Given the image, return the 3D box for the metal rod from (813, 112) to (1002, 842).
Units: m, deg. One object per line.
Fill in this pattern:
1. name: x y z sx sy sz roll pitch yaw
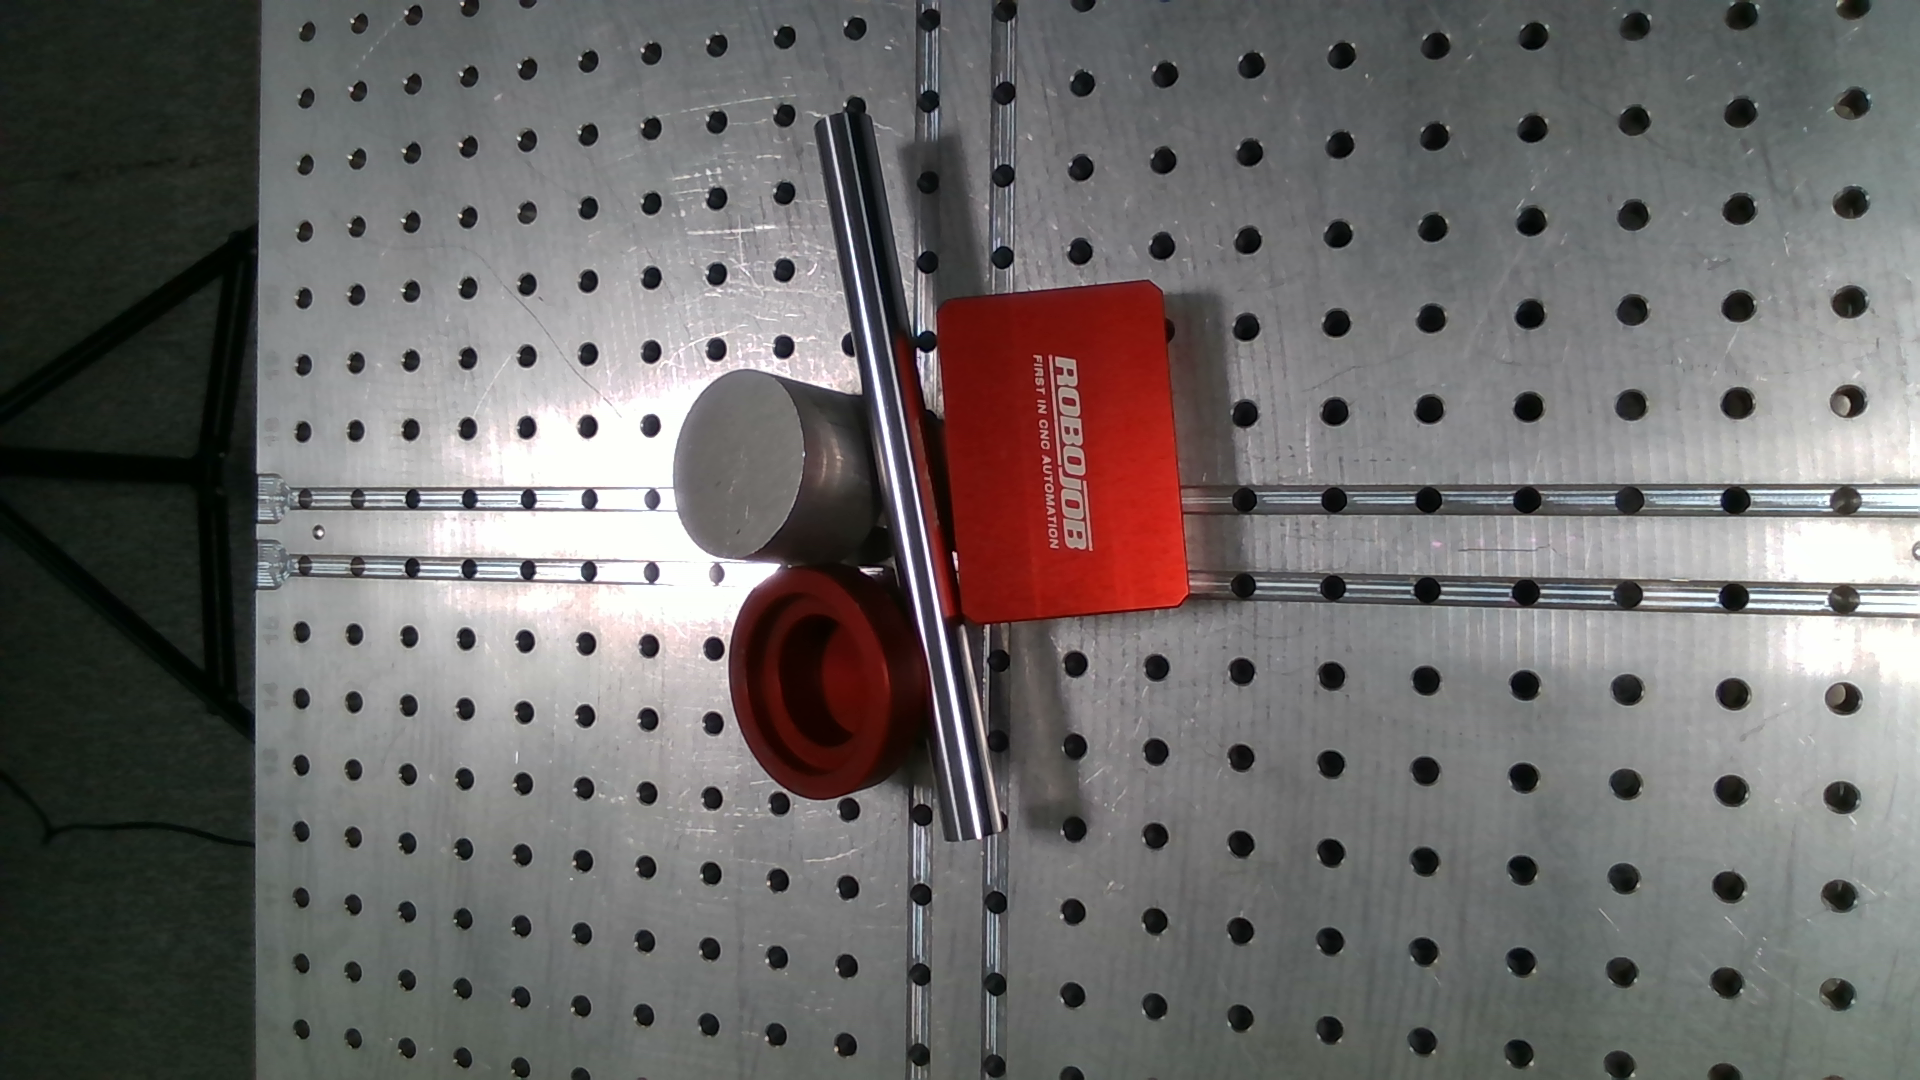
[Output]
1. metal rod: -0.022 -0.027 0.569 0.025 0.025 0.300 -12 87 20

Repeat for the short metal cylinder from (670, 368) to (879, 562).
1. short metal cylinder: -0.079 -0.029 0.591 0.080 0.050 0.080 -5 82 38

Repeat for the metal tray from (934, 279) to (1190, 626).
1. metal tray: 0.040 -0.034 0.555 0.090 0.030 0.130 -5 89 2

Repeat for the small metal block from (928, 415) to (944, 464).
1. small metal block: -0.018 -0.030 0.603 0.050 0.025 0.050 19 97 19

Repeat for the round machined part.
1. round machined part: -0.052 0.058 0.586 0.098 0.042 0.098 5 97 42
